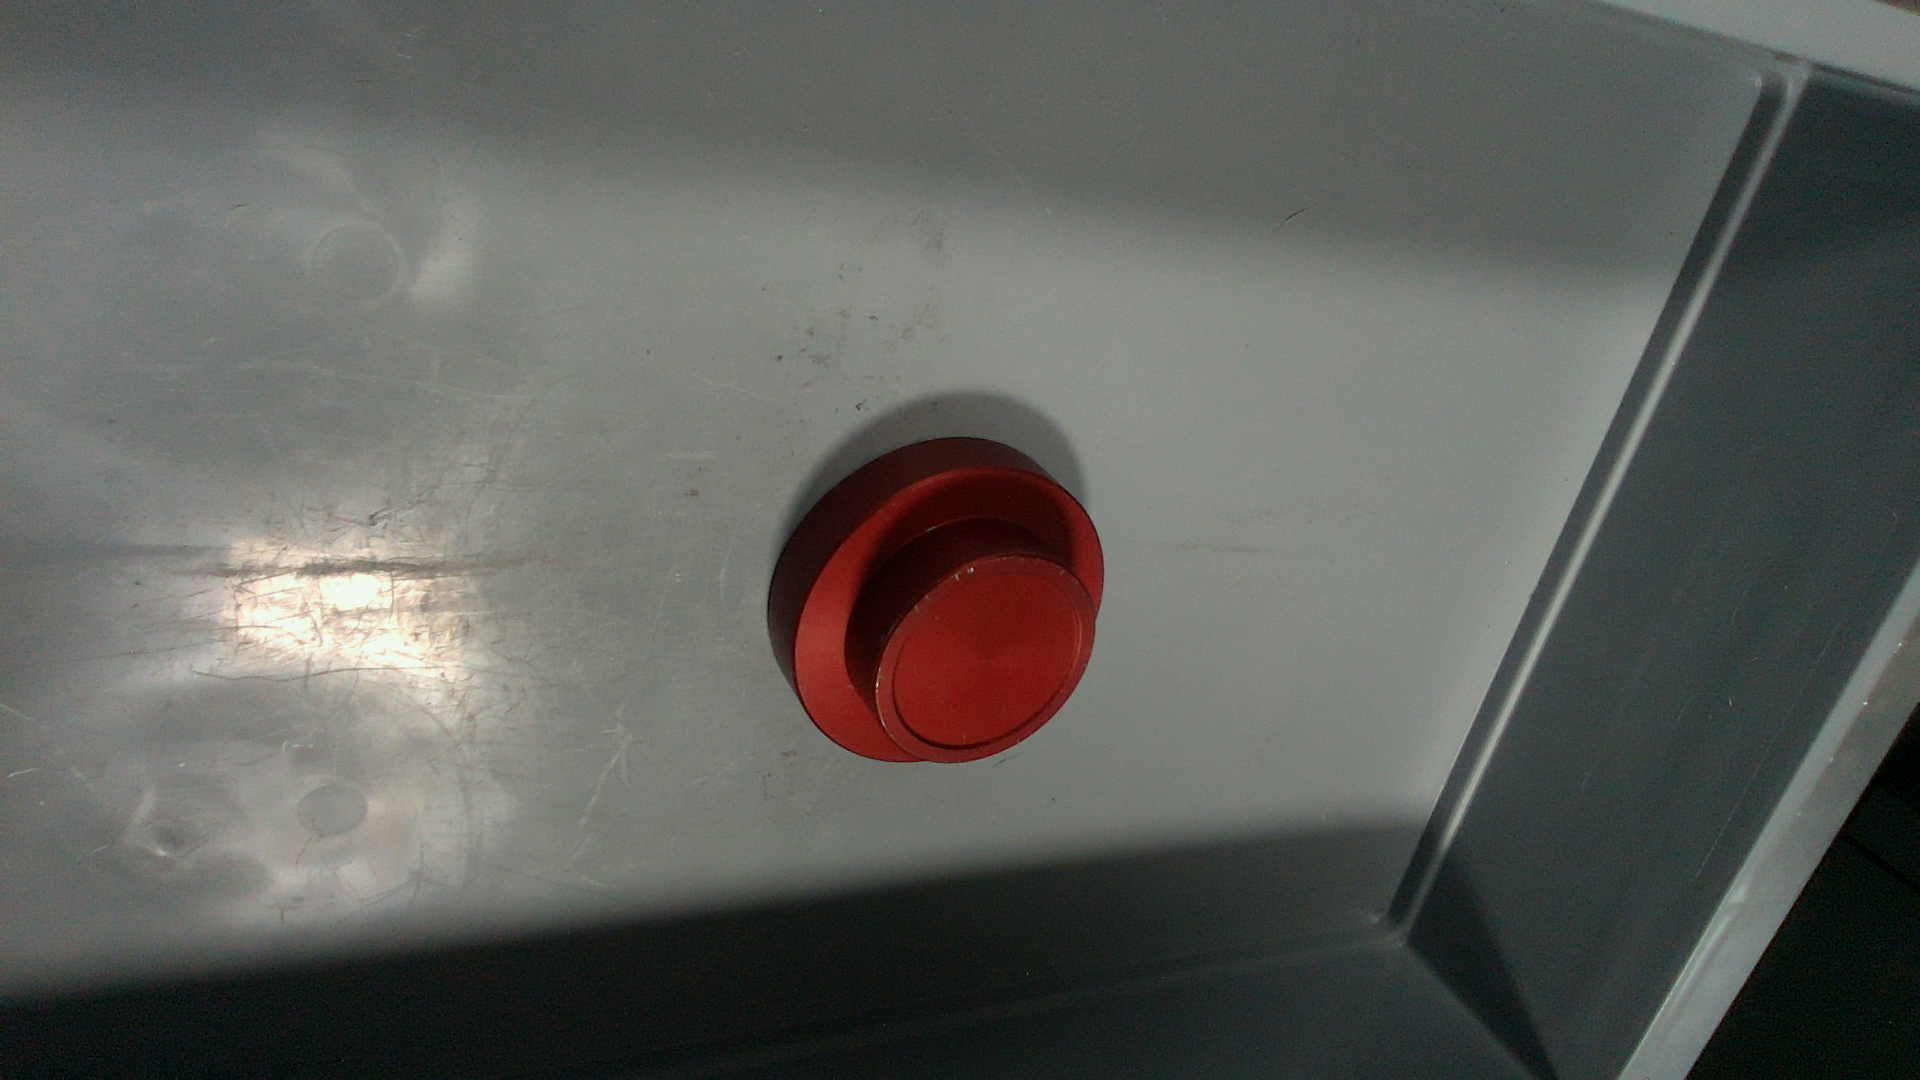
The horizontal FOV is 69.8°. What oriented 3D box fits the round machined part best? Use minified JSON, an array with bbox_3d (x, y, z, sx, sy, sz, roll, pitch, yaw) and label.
[{"bbox_3d":[-0.001,0.024,0.388,0.098,0.042,0.098,-14,124,-21],"label":"round machined part"}]
